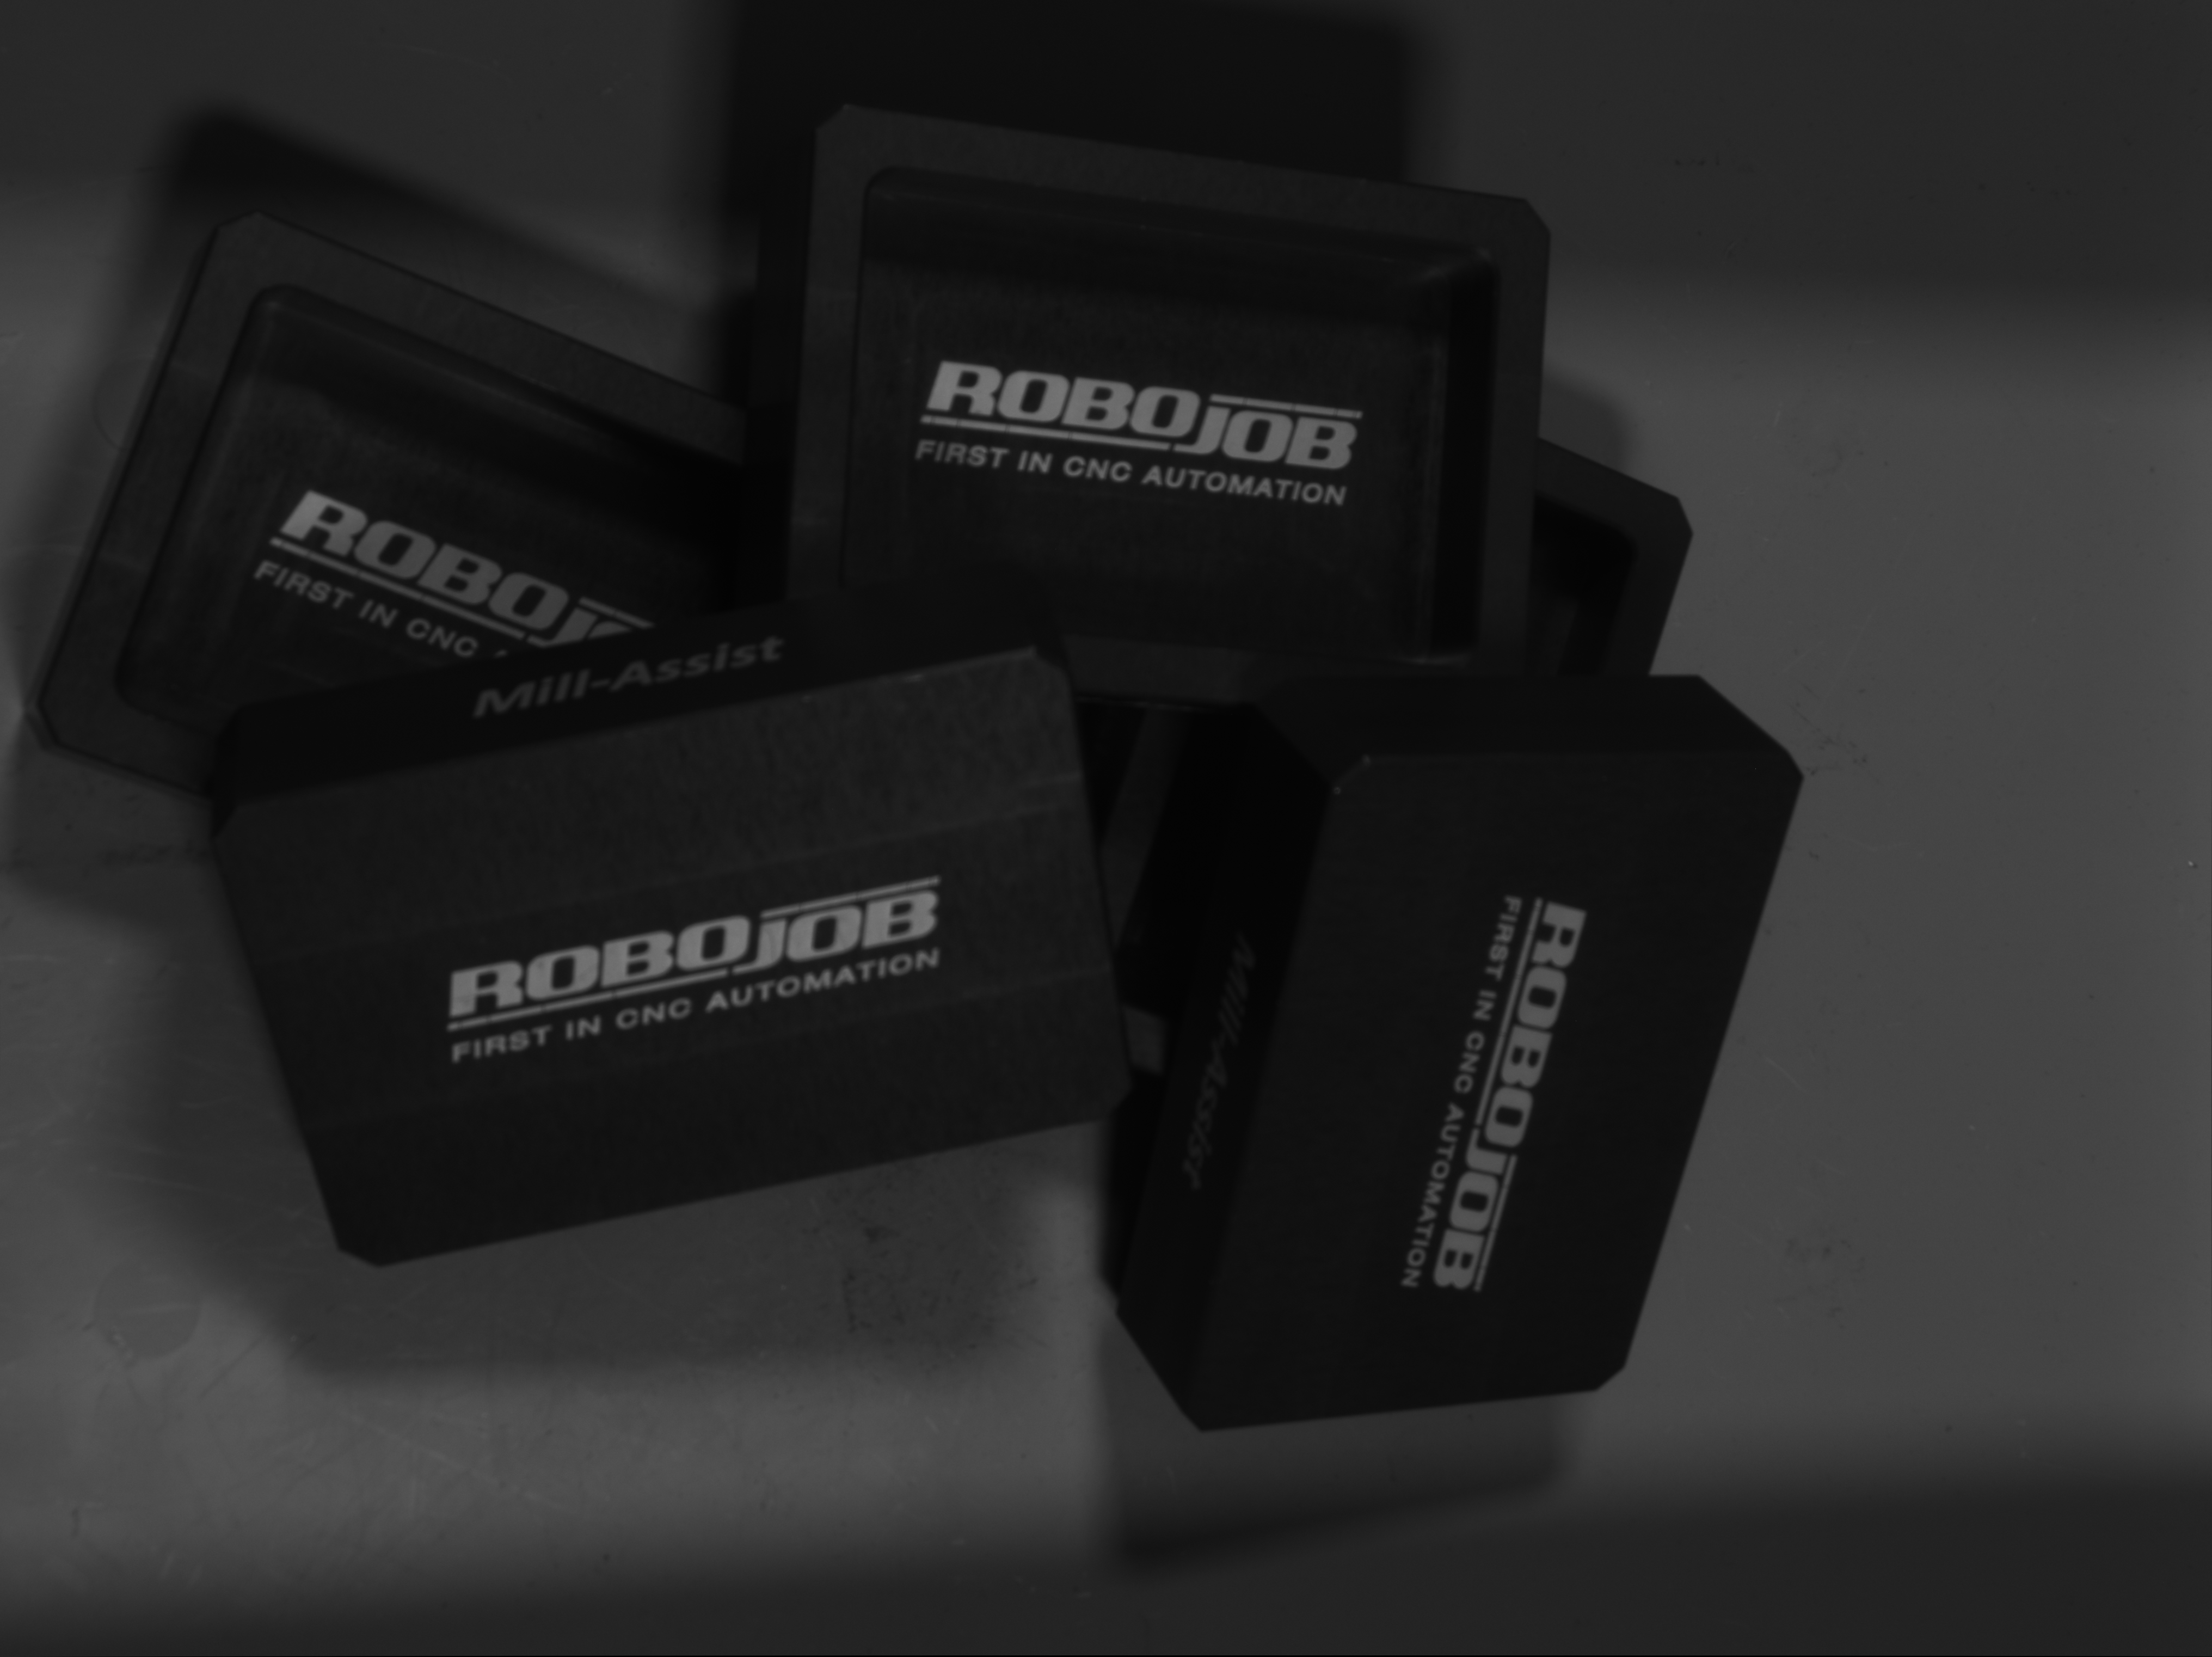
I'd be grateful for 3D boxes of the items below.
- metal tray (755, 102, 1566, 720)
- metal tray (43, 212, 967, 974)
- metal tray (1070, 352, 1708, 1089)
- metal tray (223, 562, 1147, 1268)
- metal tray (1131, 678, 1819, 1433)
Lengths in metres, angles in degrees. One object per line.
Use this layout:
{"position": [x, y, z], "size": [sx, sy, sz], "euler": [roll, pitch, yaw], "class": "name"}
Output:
{"position": [0.010, -0.066, 0.611], "size": [0.130, 0.030, 0.090], "euler": [4, 89, -20], "class": "metal tray"}
{"position": [-0.097, -0.034, 0.603], "size": [0.130, 0.030, 0.090], "euler": [21, 83, -19], "class": "metal tray"}
{"position": [0.046, -0.012, 0.656], "size": [0.090, 0.030, 0.130], "euler": [21, 83, -19], "class": "metal tray"}
{"position": [-0.064, 0.015, 0.580], "size": [0.130, 0.030, 0.090], "euler": [-11, 123, -4], "class": "metal tray"}
{"position": [0.062, 0.039, 0.628], "size": [0.090, 0.030, 0.130], "euler": [-1, 119, -25], "class": "metal tray"}
